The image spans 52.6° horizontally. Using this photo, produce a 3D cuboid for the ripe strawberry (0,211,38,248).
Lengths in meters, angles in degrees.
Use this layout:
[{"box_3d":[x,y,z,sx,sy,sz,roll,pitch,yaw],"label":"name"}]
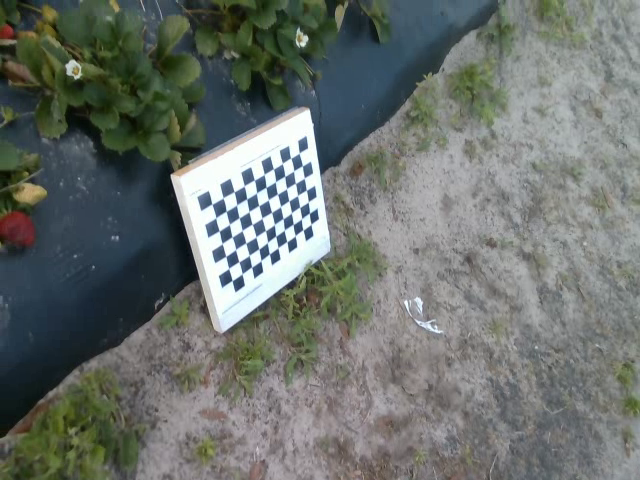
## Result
[{"box_3d":[-0.366,-0.009,0.790,0.059,0.046,0.046,33,52,21],"label":"ripe strawberry"}]
